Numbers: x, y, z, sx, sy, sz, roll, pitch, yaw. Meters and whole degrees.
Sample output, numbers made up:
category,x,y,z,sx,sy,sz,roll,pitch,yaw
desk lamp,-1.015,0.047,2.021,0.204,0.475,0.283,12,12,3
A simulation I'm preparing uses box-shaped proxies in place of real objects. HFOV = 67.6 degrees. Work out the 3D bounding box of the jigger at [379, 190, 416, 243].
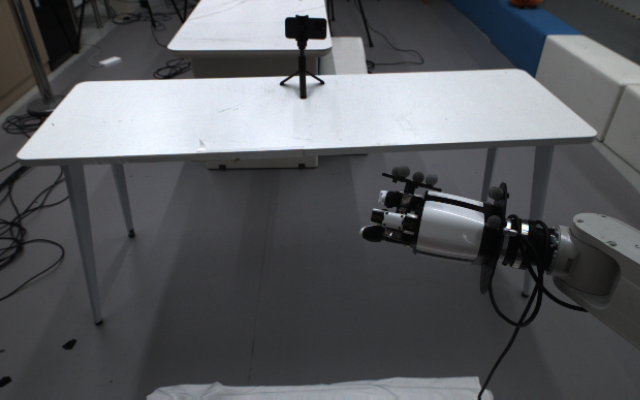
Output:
category,x,y,z,sx,sy,sz,roll,pitch,yaw
jigger,0.120,0.023,0.706,0.043,0.071,0.043,17,2,-1
